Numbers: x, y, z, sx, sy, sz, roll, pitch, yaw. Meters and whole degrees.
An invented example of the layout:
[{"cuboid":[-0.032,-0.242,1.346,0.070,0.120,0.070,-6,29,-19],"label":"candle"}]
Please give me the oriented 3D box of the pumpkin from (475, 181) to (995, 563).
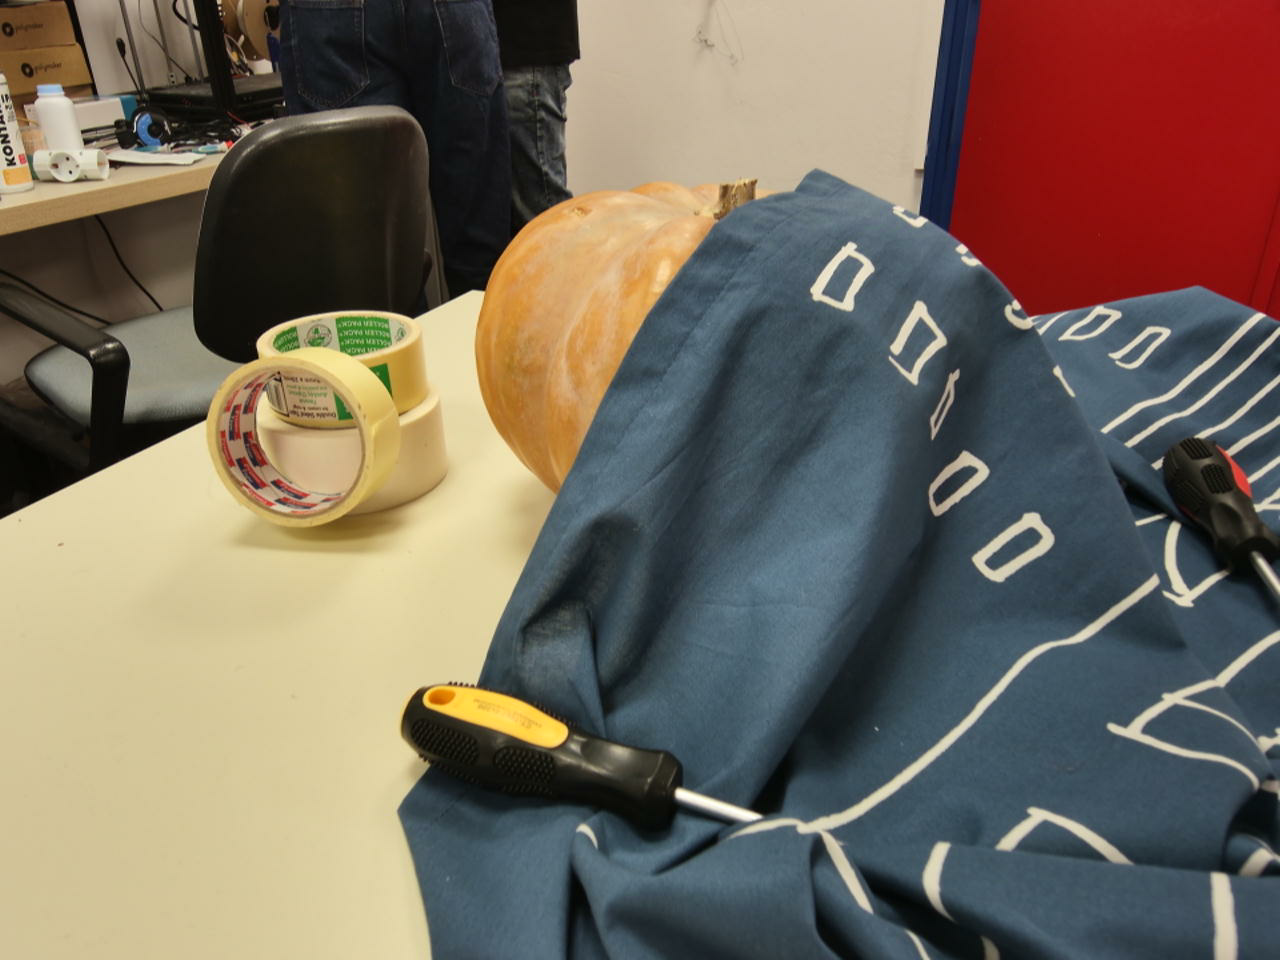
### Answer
[{"cuboid":[0.044,-0.067,0.536,0.277,0.181,0.277,0,25,0],"label":"pumpkin"}]
